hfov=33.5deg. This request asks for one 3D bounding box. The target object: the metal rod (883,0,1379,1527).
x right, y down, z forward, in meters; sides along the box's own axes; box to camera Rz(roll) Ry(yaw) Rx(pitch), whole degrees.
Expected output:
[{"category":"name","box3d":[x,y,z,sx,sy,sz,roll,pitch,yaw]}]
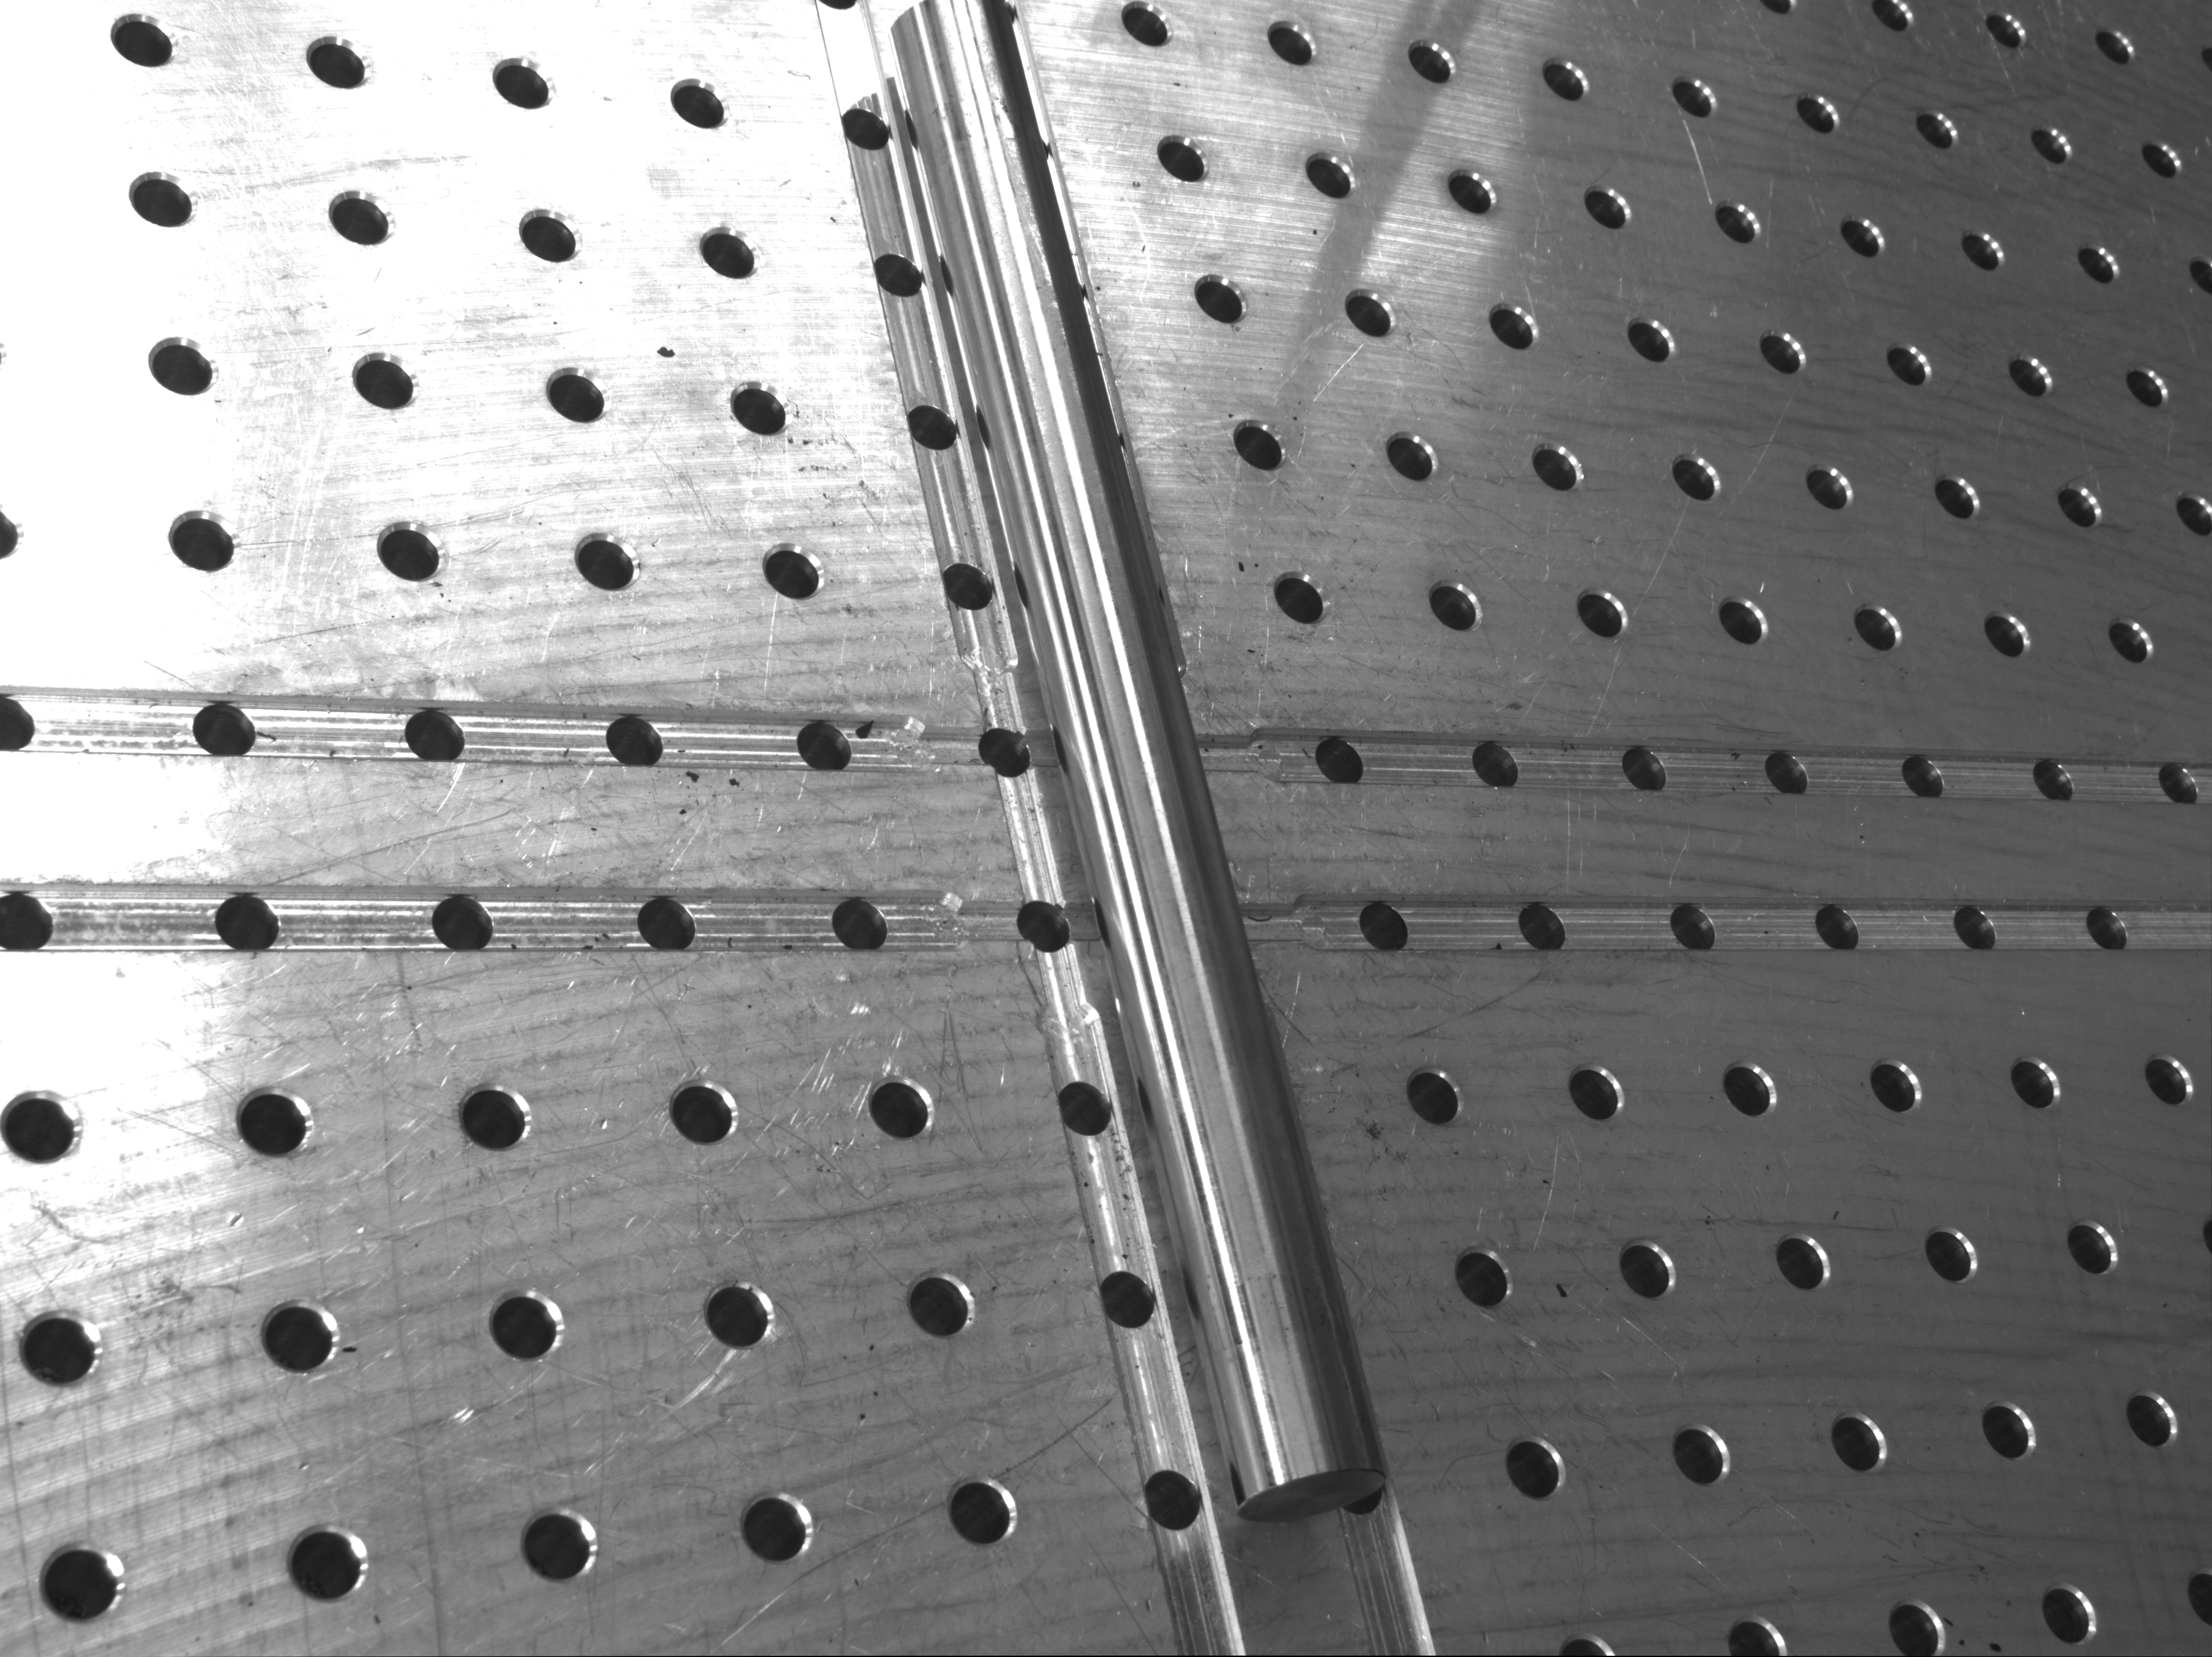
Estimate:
[{"category":"metal rod","box3d":[0.000,-0.023,0.657,0.025,0.025,0.300,1,61,-28]}]
